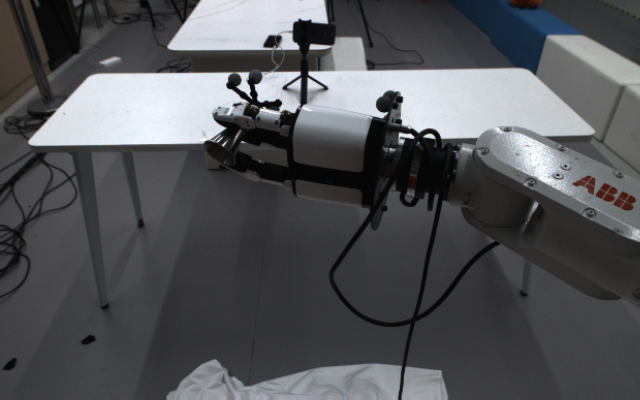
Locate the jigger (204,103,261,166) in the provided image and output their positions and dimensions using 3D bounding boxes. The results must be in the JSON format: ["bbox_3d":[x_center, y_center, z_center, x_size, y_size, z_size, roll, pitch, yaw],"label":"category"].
[{"bbox_3d":[-0.105,-0.085,0.589,0.043,0.043,0.071,19,61,23],"label":"jigger"}]
